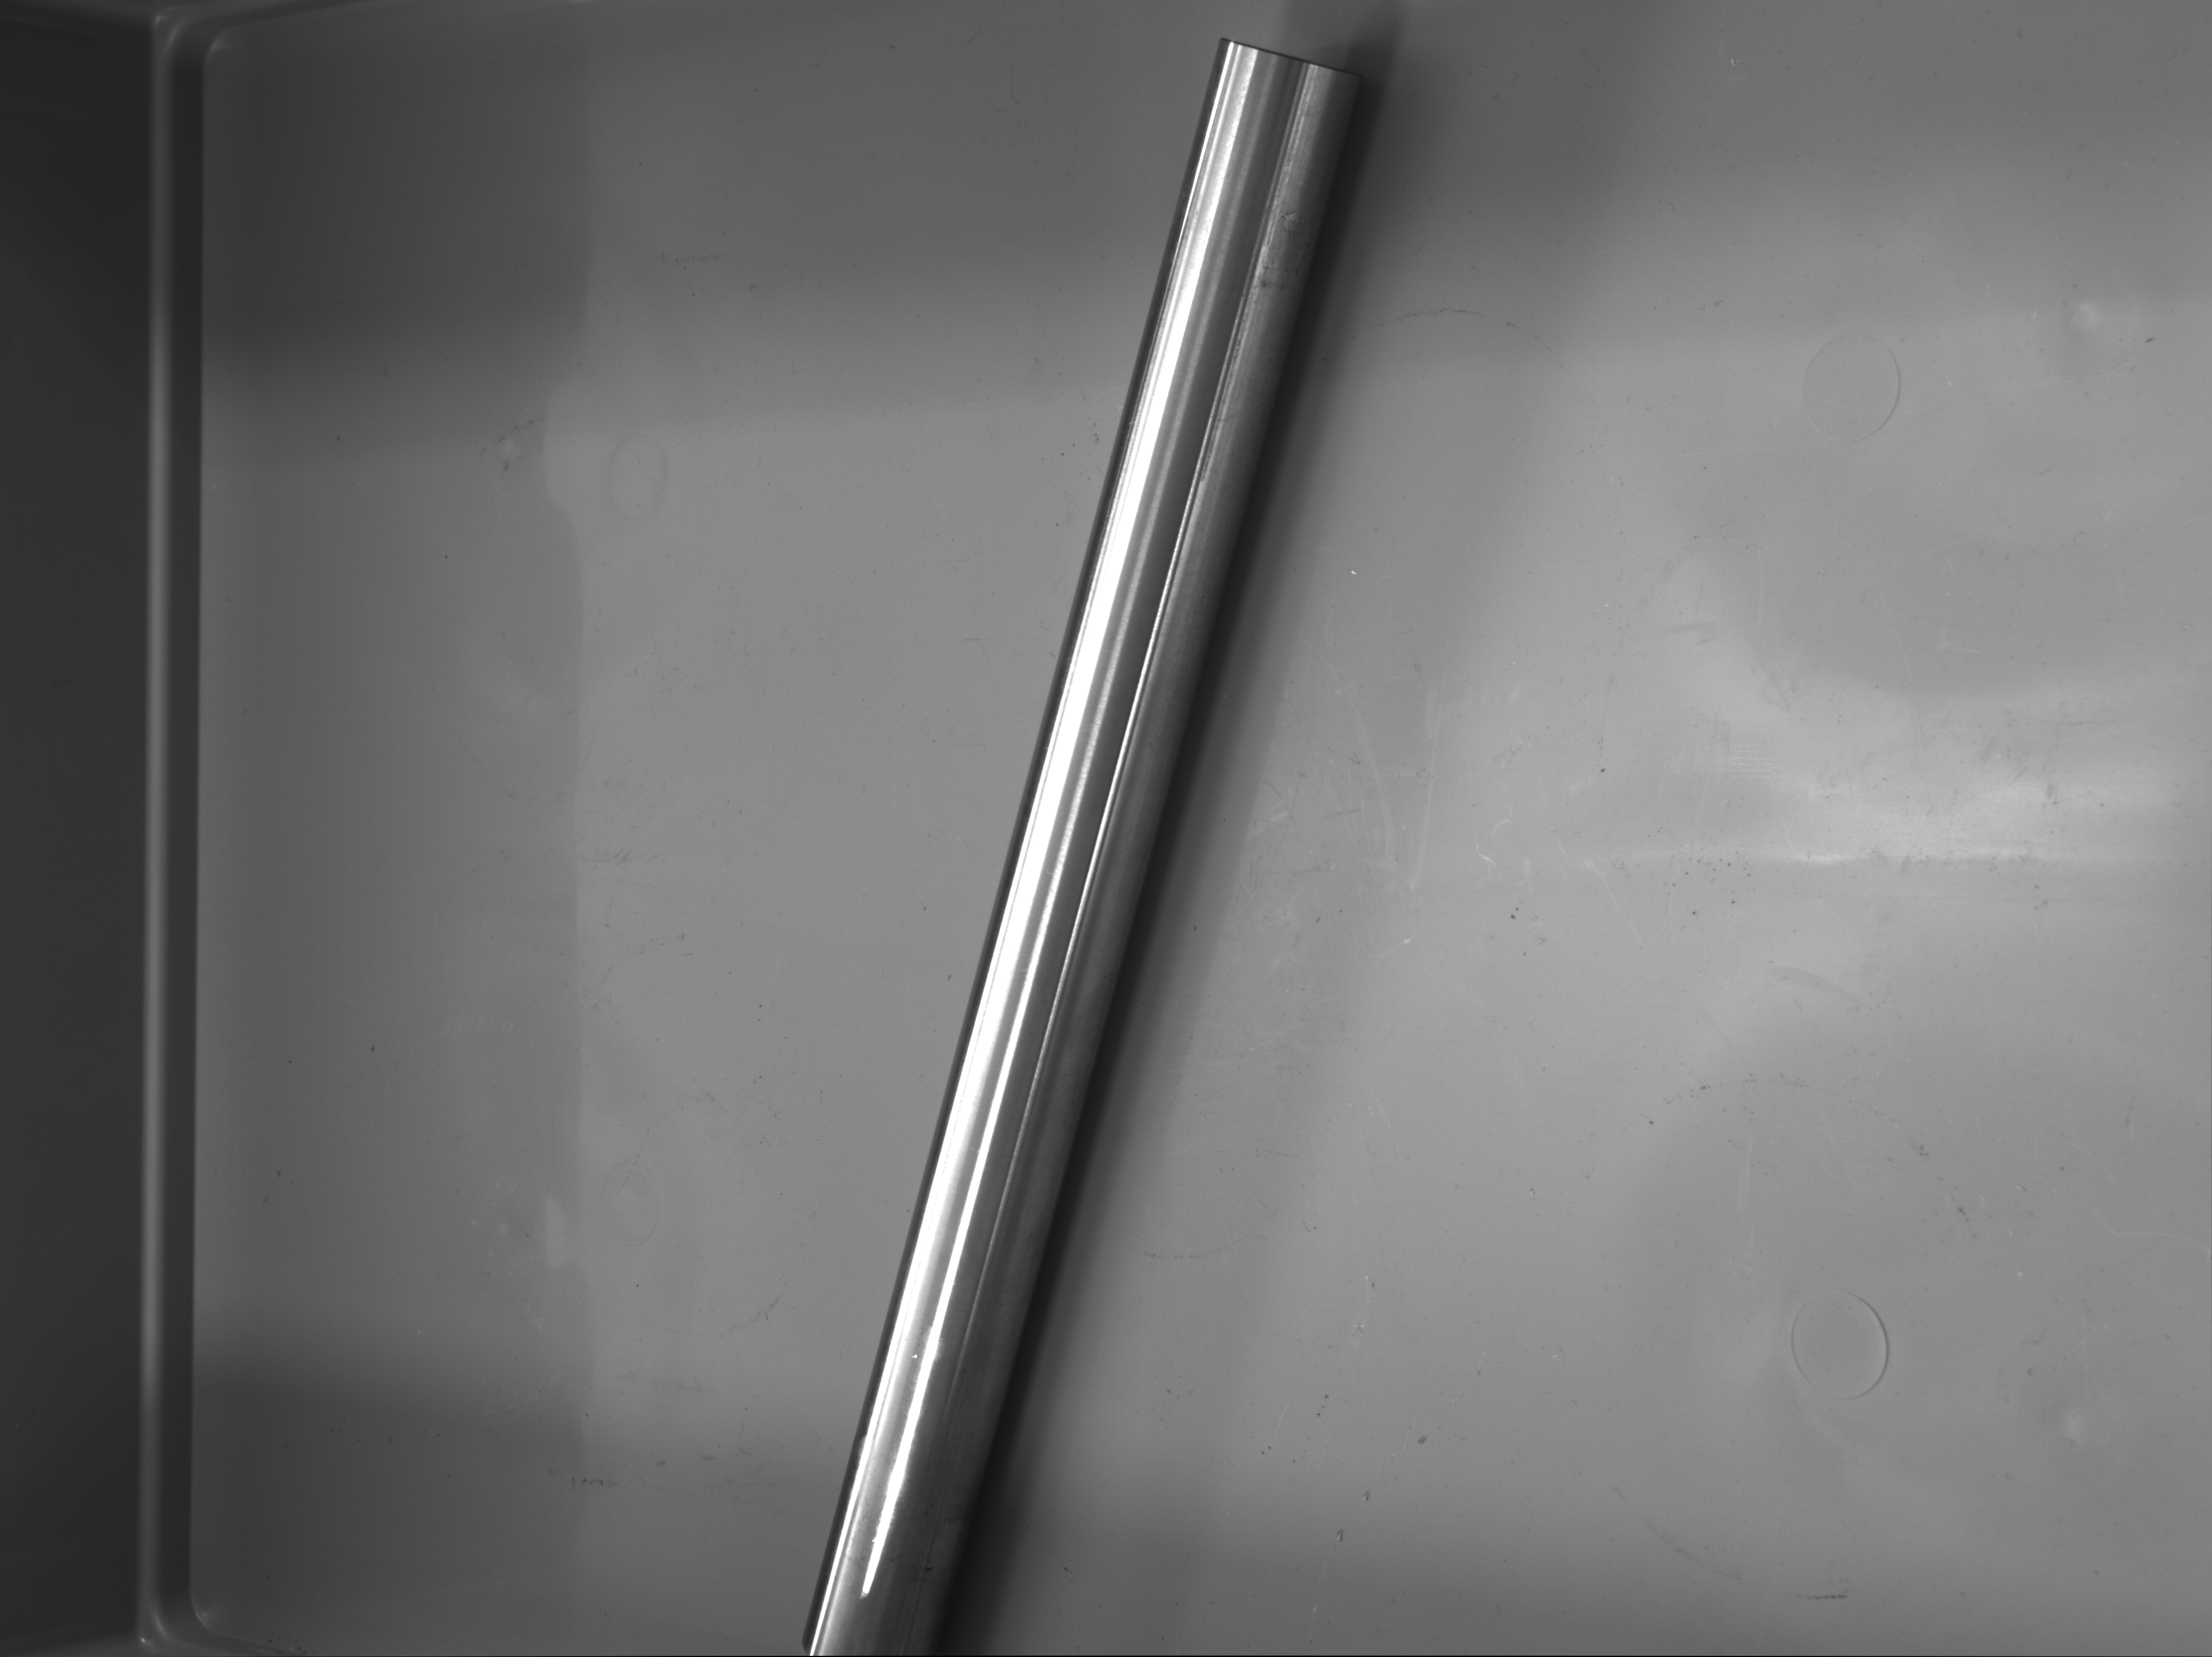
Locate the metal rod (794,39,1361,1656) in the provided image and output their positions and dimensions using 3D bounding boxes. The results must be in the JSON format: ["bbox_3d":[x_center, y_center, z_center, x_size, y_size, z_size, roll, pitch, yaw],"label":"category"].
[{"bbox_3d":[-0.008,0.012,0.650,0.025,0.025,0.300,25,106,37],"label":"metal rod"}]
